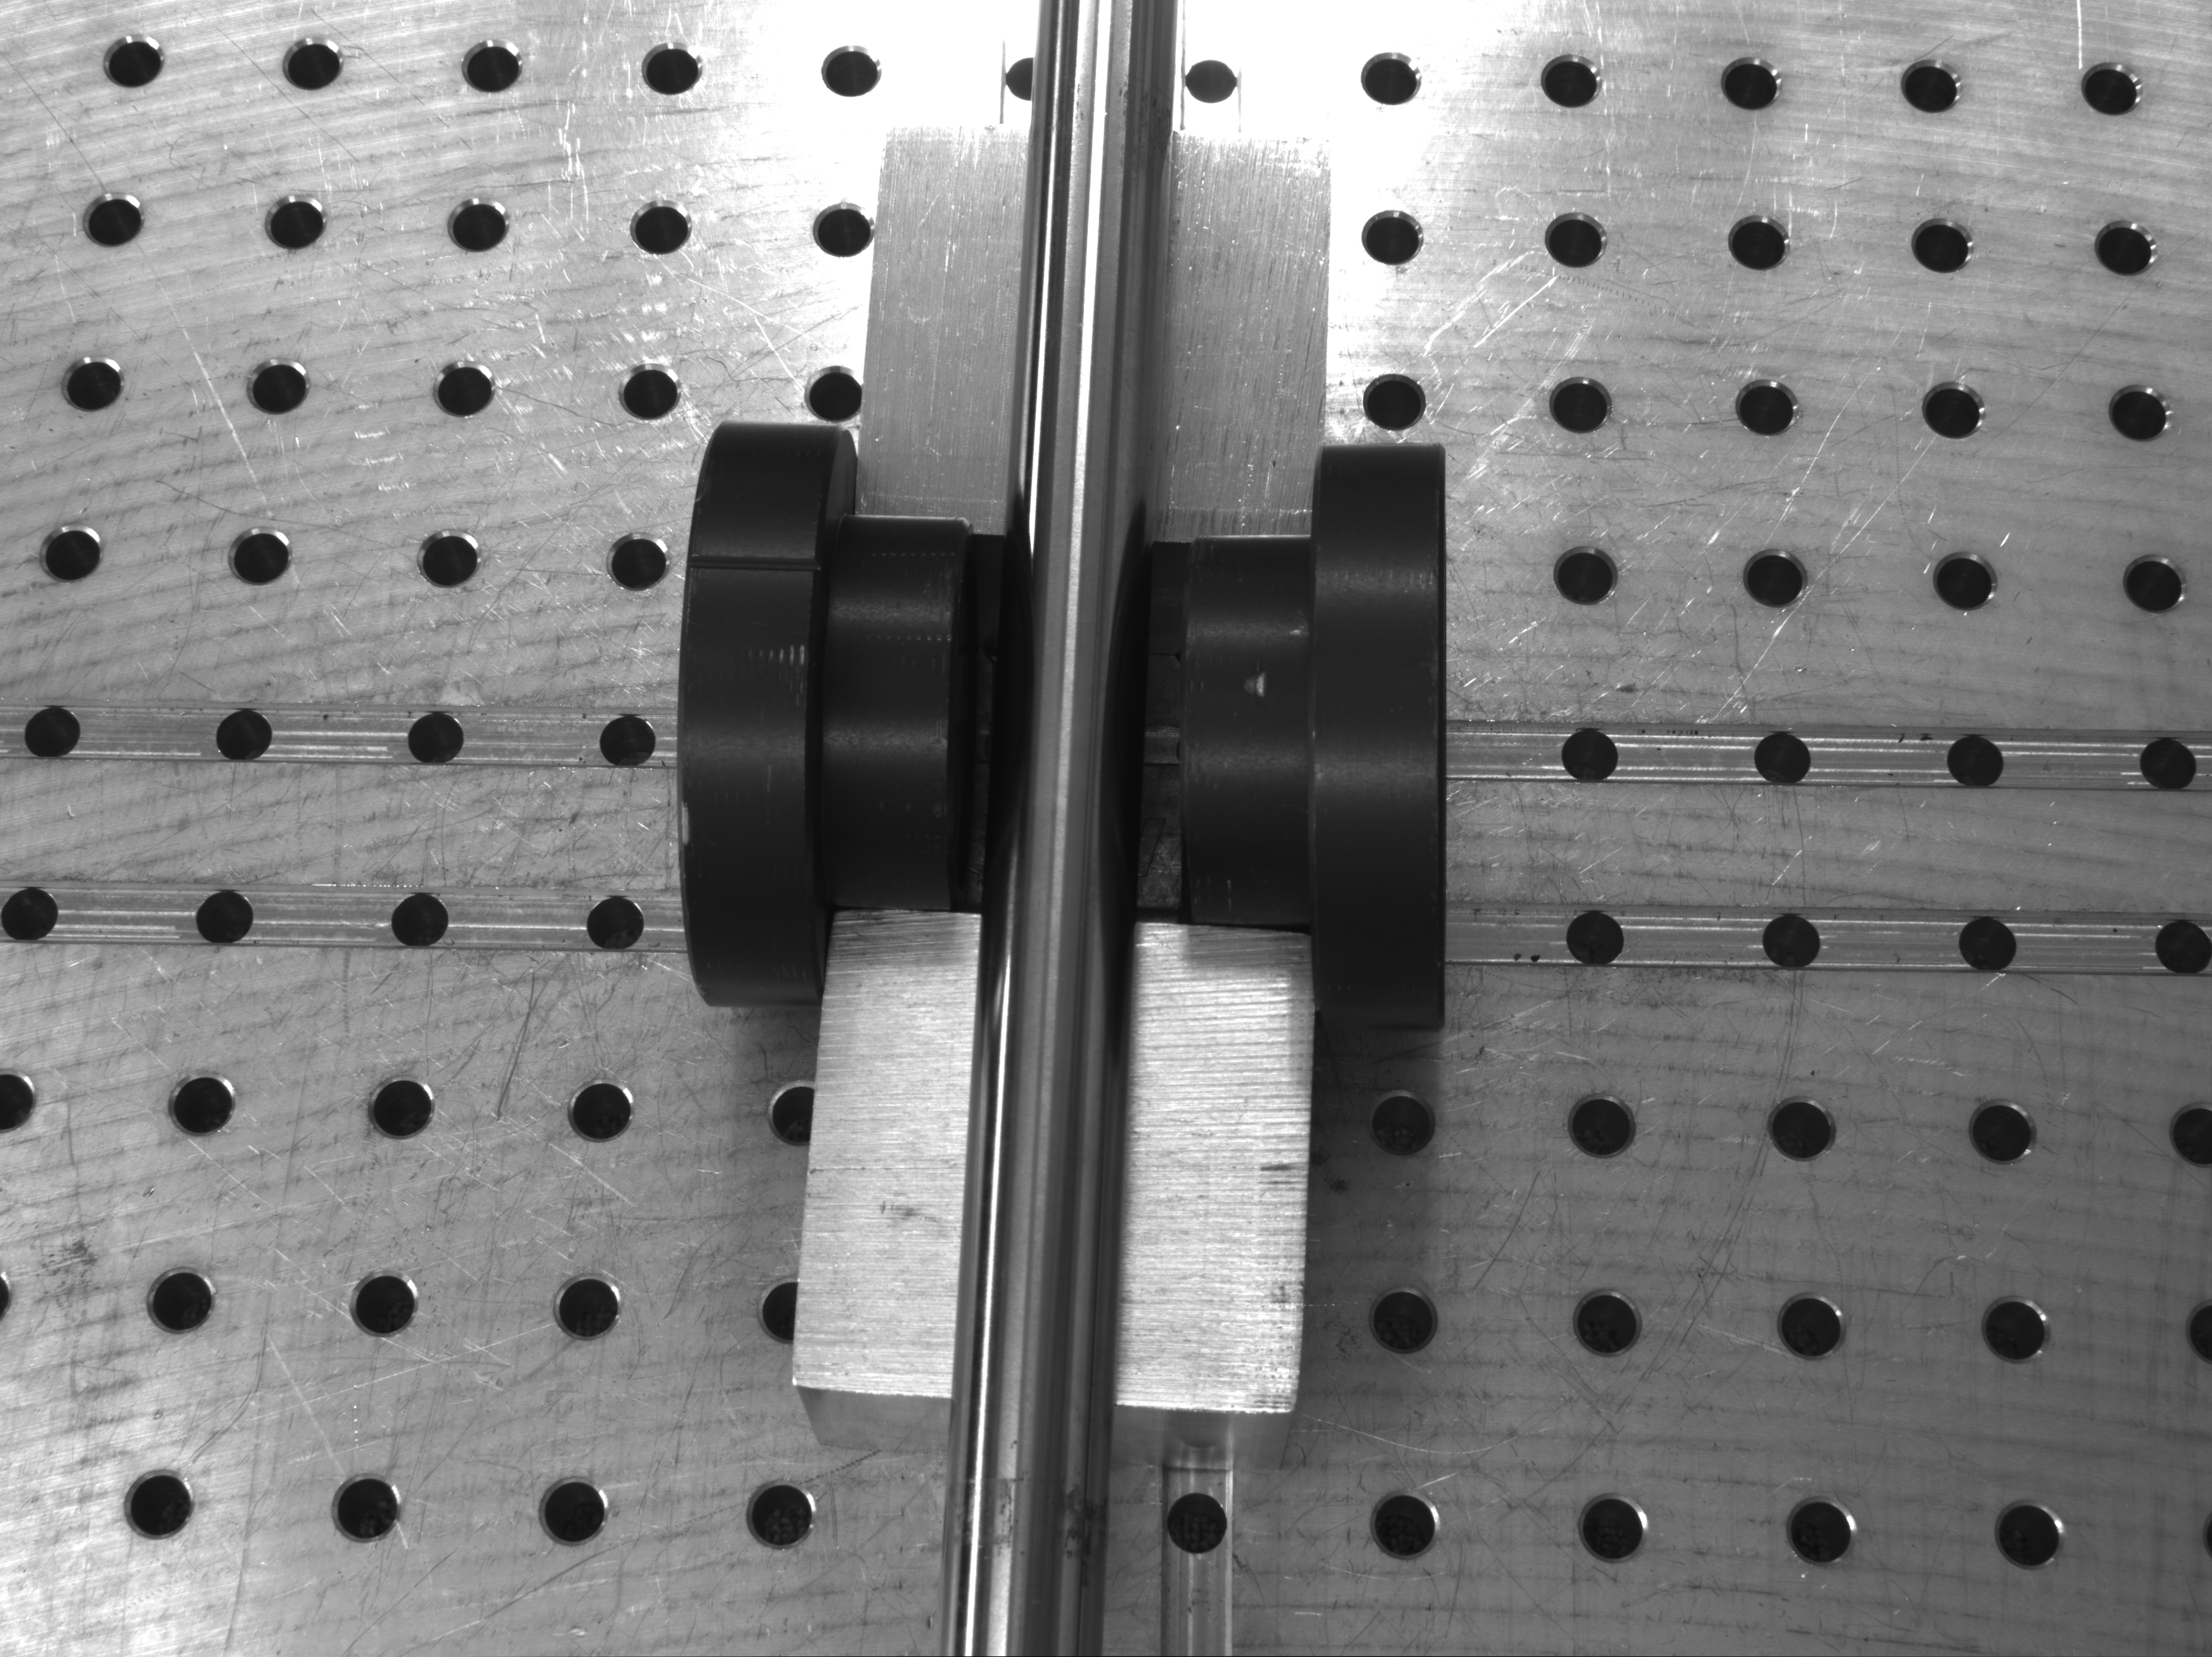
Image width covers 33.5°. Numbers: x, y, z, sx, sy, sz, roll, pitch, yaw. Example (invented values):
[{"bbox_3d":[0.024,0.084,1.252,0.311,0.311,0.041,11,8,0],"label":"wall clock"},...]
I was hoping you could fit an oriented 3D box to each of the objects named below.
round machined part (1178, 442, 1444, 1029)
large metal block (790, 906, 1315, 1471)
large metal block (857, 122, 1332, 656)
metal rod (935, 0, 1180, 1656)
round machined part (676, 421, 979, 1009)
[{"bbox_3d":[0.036,-0.015,0.614,0.042,0.098,0.098,0,70,6],"label":"round machined part"},{"bbox_3d":[-0.007,0.061,0.612,0.080,0.050,0.080,3,70,1],"label":"large metal block"},{"bbox_3d":[-0.001,-0.078,0.663,0.080,0.050,0.080,2,70,1],"label":"large metal block"},{"bbox_3d":[-0.006,-0.007,0.597,0.025,0.025,0.300,3,70,1],"label":"metal rod"},{"bbox_3d":[-0.044,-0.018,0.615,0.042,0.098,0.098,2,70,1],"label":"round machined part"}]
